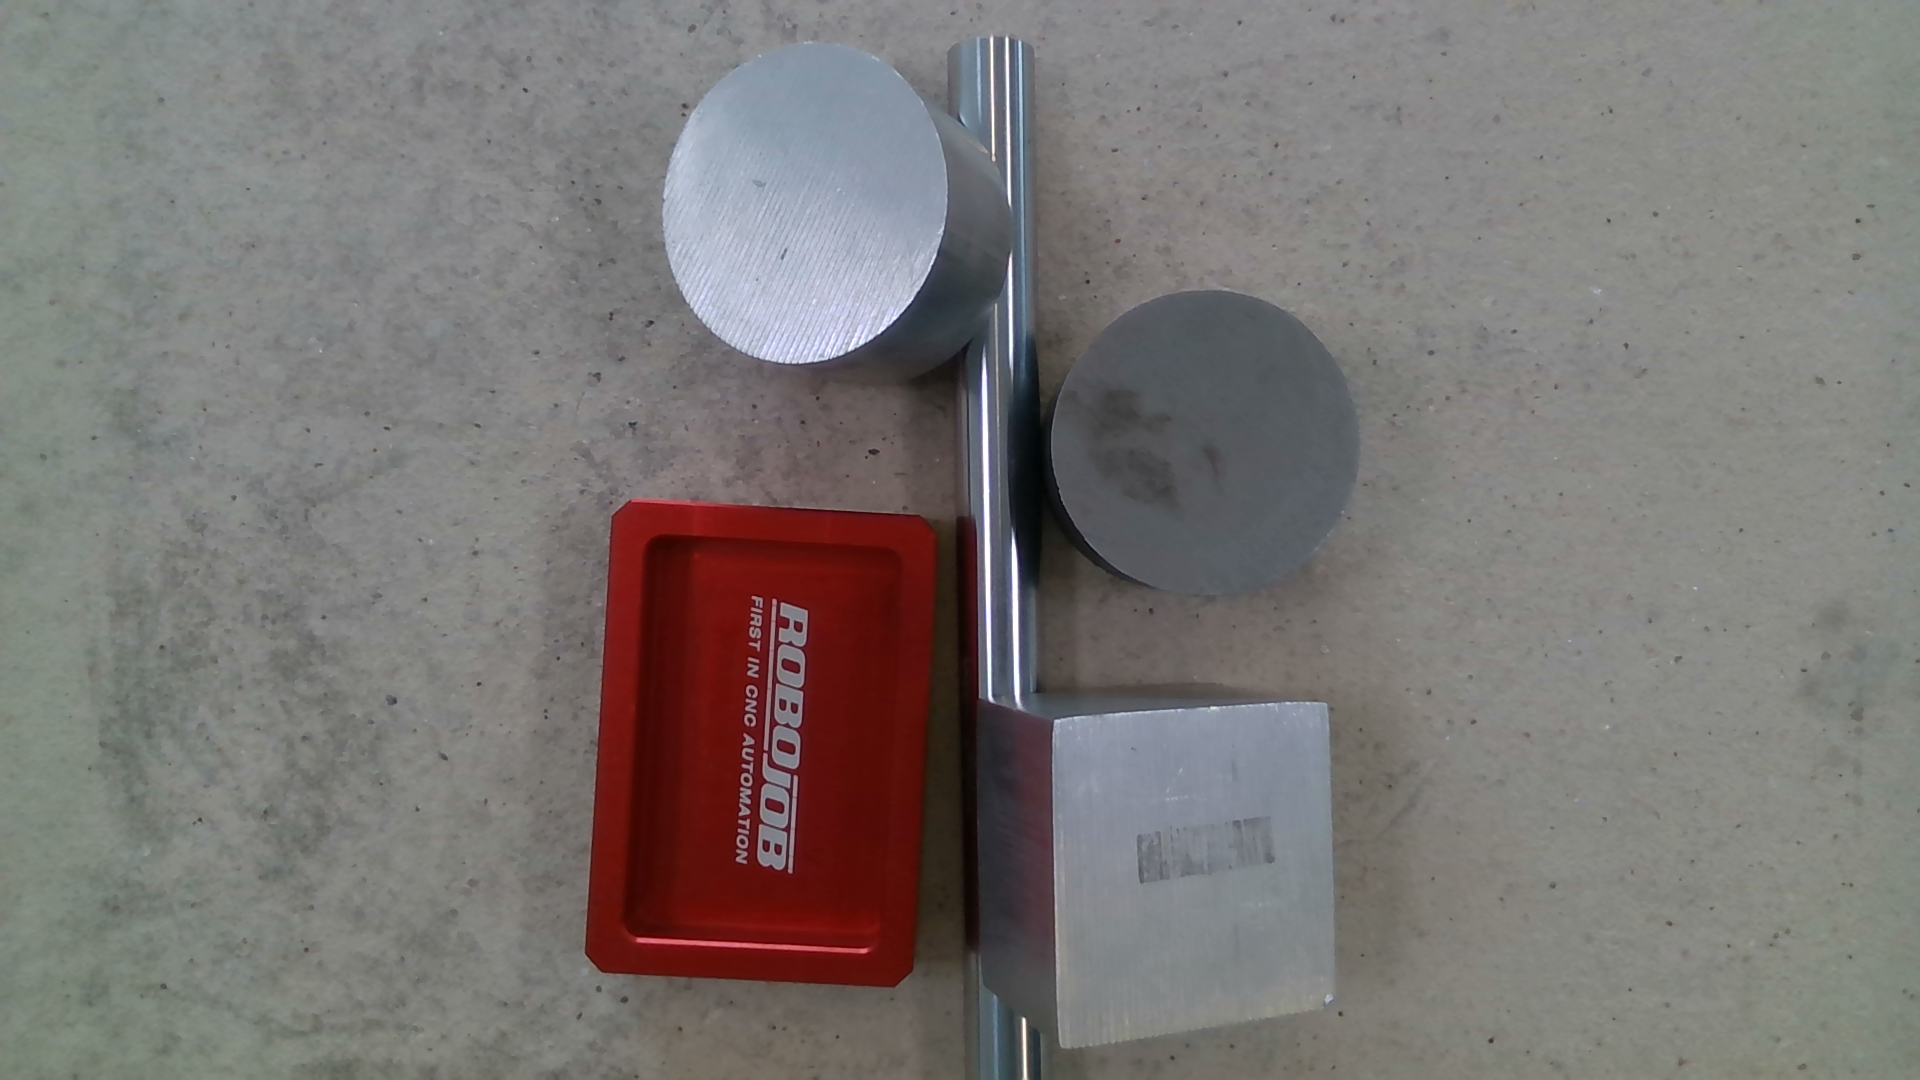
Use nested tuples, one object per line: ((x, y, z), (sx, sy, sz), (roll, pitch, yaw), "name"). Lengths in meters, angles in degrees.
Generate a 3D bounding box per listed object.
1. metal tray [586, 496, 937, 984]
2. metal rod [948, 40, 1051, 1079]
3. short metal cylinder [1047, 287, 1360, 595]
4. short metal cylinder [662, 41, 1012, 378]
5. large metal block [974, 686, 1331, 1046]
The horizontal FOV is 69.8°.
((-0.055, 0.055, 0.392), (0.090, 0.030, 0.130), (3, 90, 0), "metal tray")
((0.011, 0.010, 0.397), (0.025, 0.025, 0.300), (-1, 90, 0), "metal rod")
((0.064, -0.026, 0.383), (0.080, 0.050, 0.080), (0, 90, -1), "short metal cylinder")
((-0.032, -0.085, 0.370), (0.080, 0.050, 0.080), (0, 91, 21), "short metal cylinder")
((0.051, 0.082, 0.371), (0.080, 0.050, 0.080), (-1, 90, -21), "large metal block")
